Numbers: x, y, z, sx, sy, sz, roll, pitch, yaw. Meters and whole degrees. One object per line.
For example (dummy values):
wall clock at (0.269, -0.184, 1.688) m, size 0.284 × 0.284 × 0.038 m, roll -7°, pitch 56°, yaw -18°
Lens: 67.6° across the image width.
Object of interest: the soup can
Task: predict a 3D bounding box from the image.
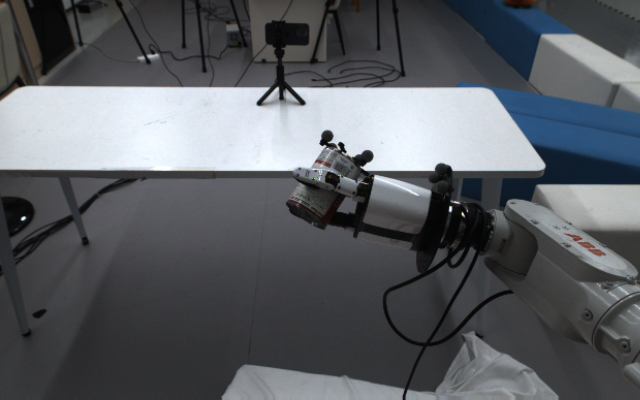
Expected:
soup can at (0.007, -0.017, 0.700) m, size 0.067 × 0.067 × 0.101 m, roll 26°, pitch 75°, yaw 31°
